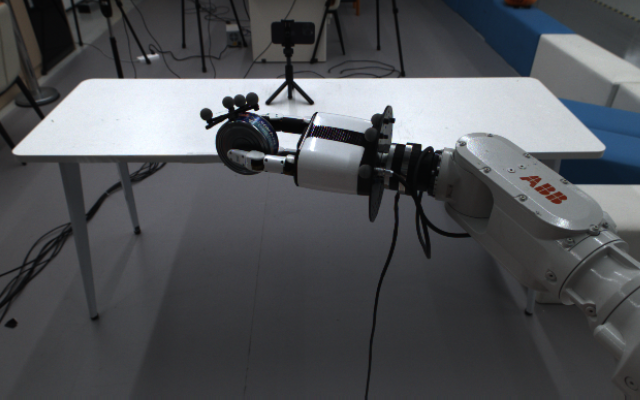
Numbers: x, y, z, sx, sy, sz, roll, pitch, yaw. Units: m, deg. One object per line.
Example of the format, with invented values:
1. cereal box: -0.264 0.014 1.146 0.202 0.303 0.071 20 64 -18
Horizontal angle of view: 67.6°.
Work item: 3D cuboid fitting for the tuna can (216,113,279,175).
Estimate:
1. tuna can: -0.101 -0.073 0.688 0.085 0.085 0.034 11 34 13
